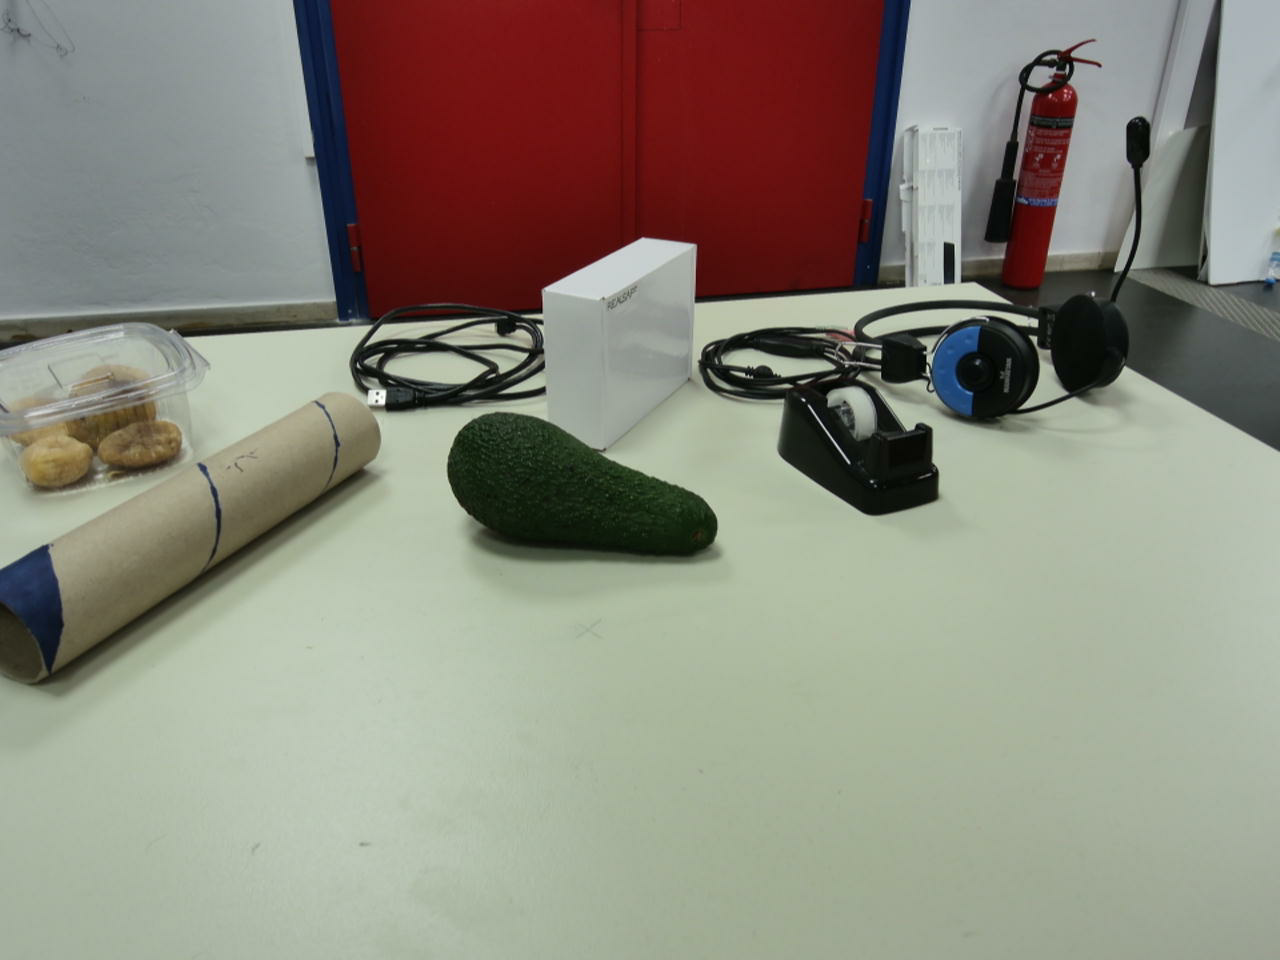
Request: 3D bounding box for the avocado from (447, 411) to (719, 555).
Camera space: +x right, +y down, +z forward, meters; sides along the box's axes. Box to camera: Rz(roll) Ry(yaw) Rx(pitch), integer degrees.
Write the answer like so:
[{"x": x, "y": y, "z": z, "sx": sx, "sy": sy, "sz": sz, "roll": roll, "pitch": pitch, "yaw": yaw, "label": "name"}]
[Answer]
[{"x": -0.029, "y": -0.001, "z": 0.511, "sx": 0.141, "sy": 0.067, "sz": 0.063, "roll": 1, "pitch": 26, "yaw": 2, "label": "avocado"}]
